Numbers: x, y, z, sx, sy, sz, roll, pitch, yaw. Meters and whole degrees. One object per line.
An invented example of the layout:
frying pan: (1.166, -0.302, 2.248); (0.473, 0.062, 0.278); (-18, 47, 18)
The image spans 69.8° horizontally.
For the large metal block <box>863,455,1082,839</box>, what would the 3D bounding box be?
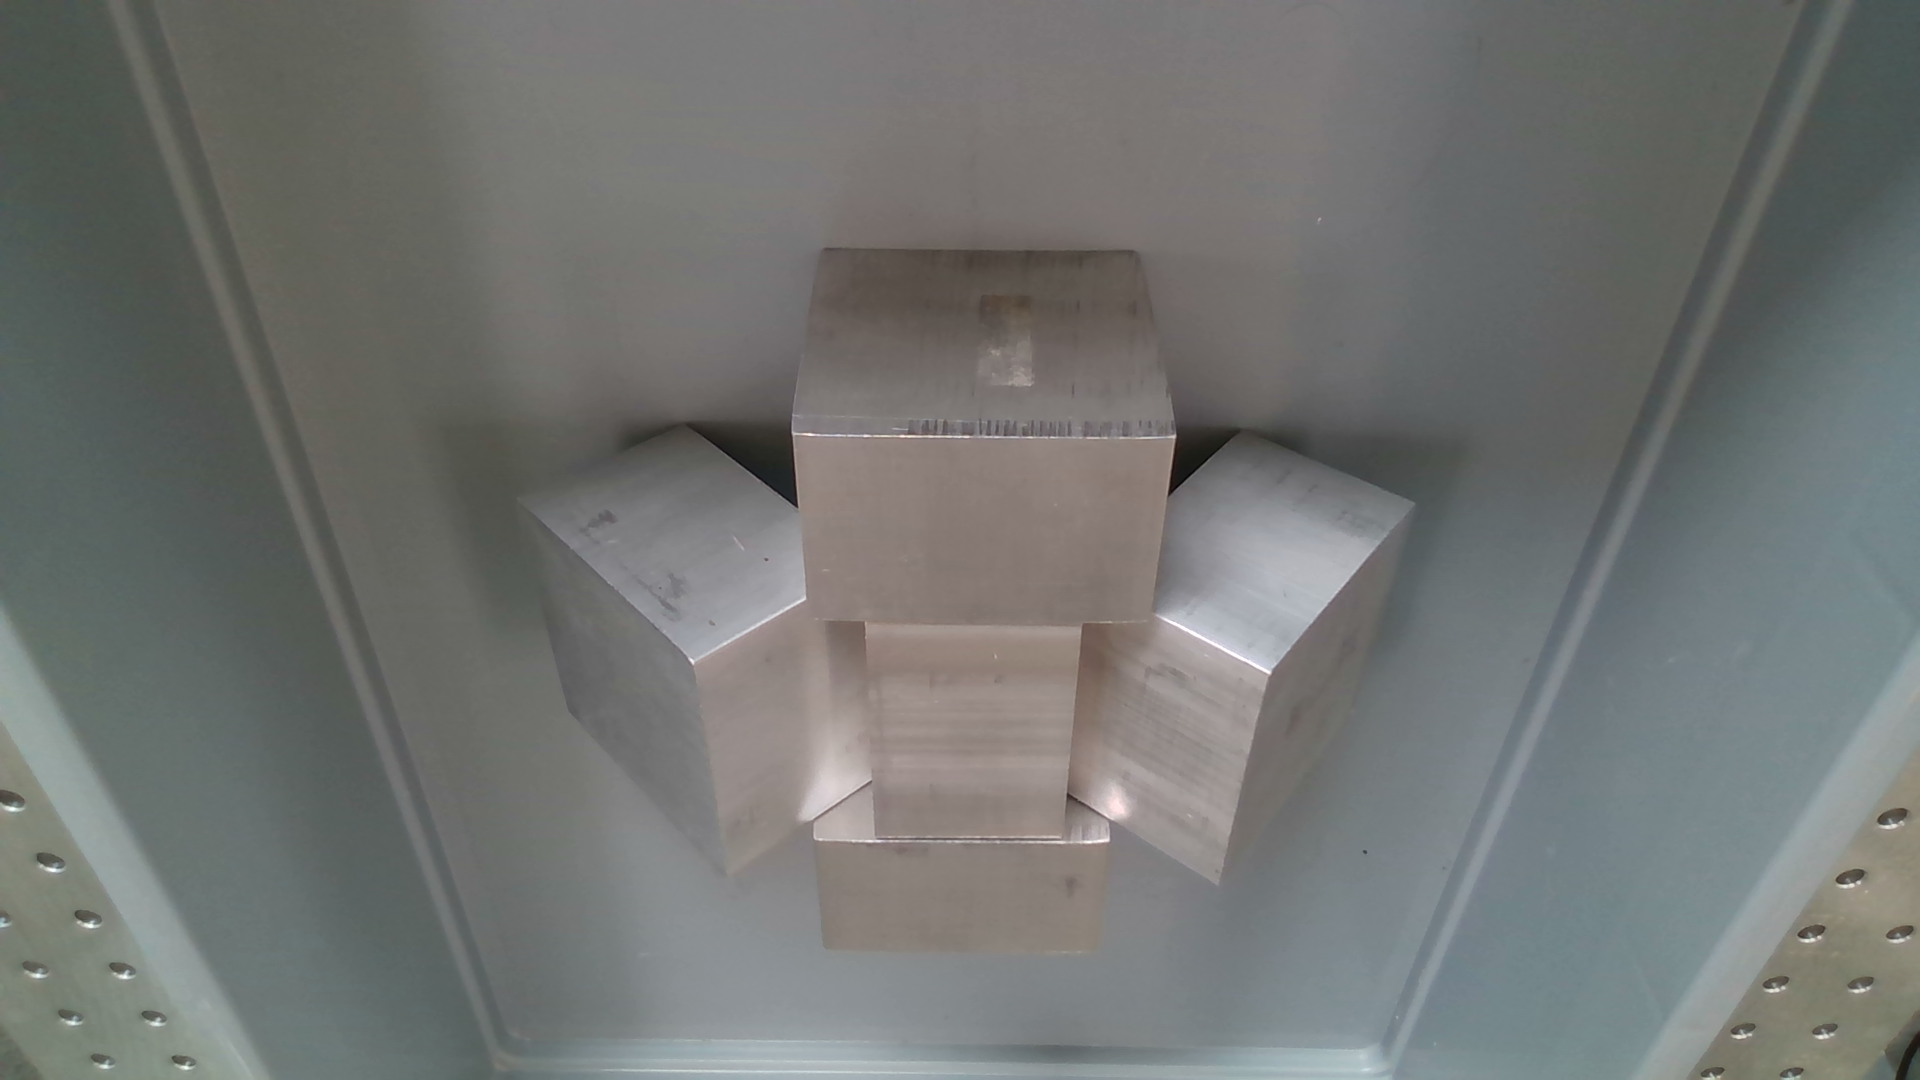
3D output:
large metal block: (0.002, 0.023, 0.372); (0.050, 0.080, 0.080); (1, 130, 0)

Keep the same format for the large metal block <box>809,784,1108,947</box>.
large metal block: (-0.001, 0.073, 0.414); (0.080, 0.080, 0.050); (1, 130, 0)

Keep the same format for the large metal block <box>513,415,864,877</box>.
large metal block: (-0.068, 0.027, 0.366); (0.050, 0.080, 0.080); (-30, 140, -31)

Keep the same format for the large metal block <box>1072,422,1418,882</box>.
large metal block: (0.073, 0.028, 0.368); (0.050, 0.080, 0.080); (27, 136, 27)

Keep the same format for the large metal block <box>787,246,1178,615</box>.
large metal block: (0.004, -0.028, 0.328); (0.080, 0.080, 0.050); (0, 130, 0)
